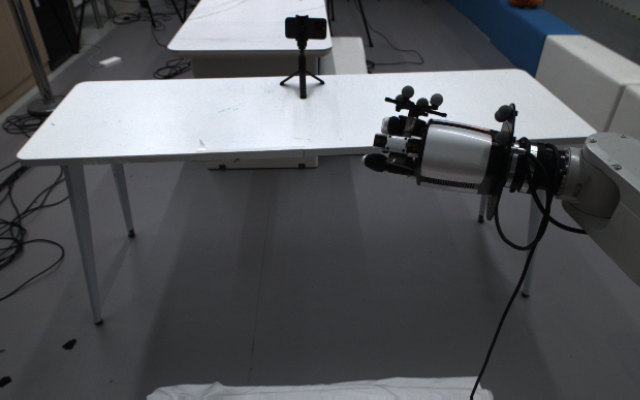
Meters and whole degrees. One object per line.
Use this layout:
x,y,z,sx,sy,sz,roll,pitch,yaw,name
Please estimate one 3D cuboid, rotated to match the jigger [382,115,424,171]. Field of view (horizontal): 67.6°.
0.121,-0.082,0.681,0.043,0.071,0.043,17,2,-1,jigger
